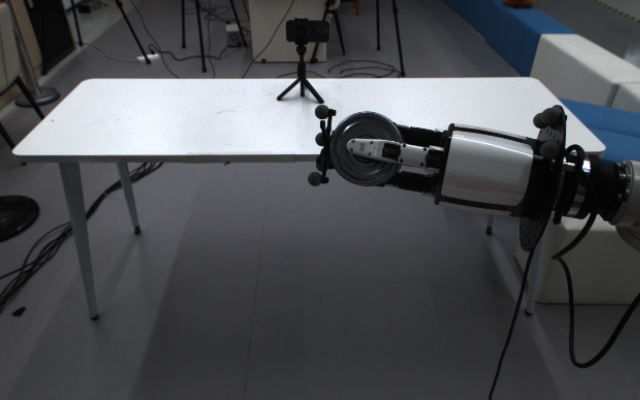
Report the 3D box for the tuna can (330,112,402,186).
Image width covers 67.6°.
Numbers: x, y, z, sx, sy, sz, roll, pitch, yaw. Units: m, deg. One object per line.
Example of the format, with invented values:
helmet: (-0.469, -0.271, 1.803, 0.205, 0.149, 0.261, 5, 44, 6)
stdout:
tuna can: (0.058, -0.056, 0.560, 0.085, 0.085, 0.034, 10, 2, 11)
